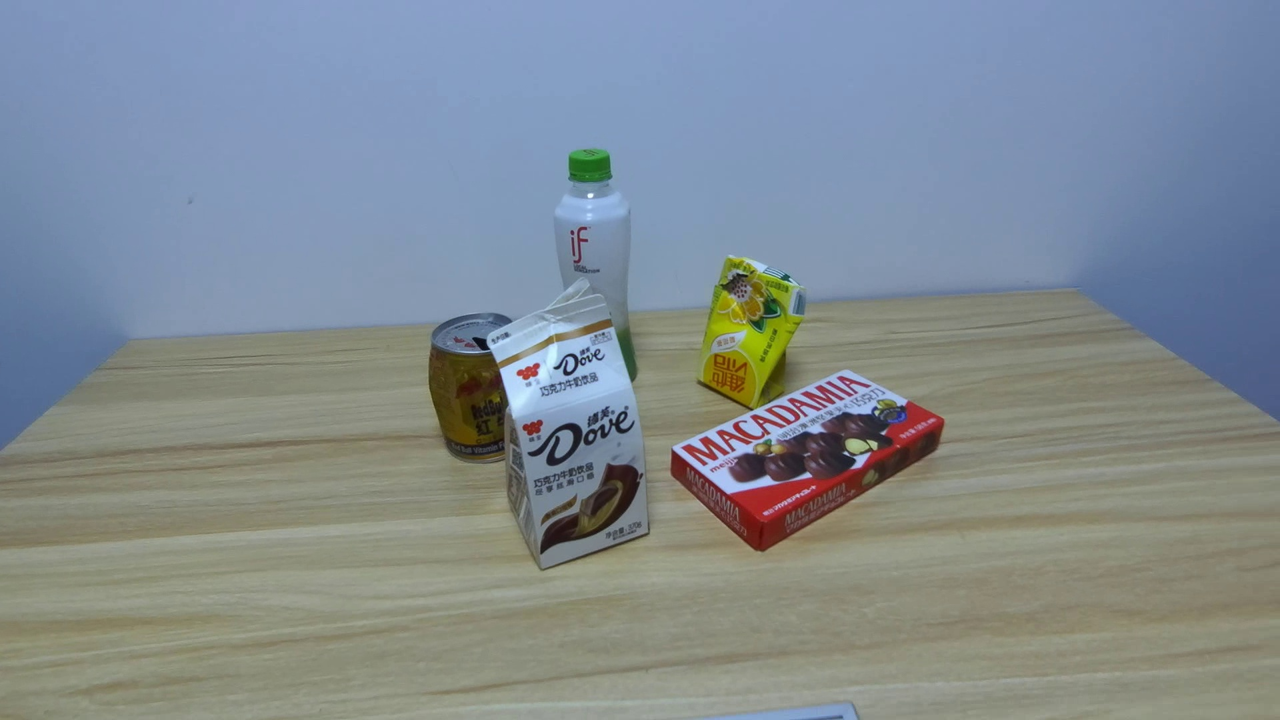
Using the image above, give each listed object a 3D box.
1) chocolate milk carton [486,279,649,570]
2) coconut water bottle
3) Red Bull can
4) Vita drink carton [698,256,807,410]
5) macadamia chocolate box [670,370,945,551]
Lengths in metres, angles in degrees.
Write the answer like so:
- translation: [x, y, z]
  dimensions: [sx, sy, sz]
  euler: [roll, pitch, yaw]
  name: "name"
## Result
- translation: [-0.043, 0.033, 0.420]
  dimensions: [0.076, 0.156, 0.073]
  euler: [-14, 31, -21]
  name: "chocolate milk carton"
- translation: [-0.035, -0.068, 0.563]
  dimensions: [0.063, 0.189, 0.063]
  euler: [-1, 26, 1]
  name: "coconut water bottle"
- translation: [-0.116, 0.018, 0.519]
  dimensions: [0.072, 0.092, 0.072]
  euler: [1, 33, -1]
  name: "Red Bull can"
- translation: [0.091, -0.024, 0.565]
  dimensions: [0.086, 0.108, 0.042]
  euler: [29, 27, 36]
  name: "Vita drink carton"
- translation: [0.119, 0.061, 0.496]
  dimensions: [0.178, 0.027, 0.095]
  euler: [-20, 35, -29]
  name: "macadamia chocolate box"
